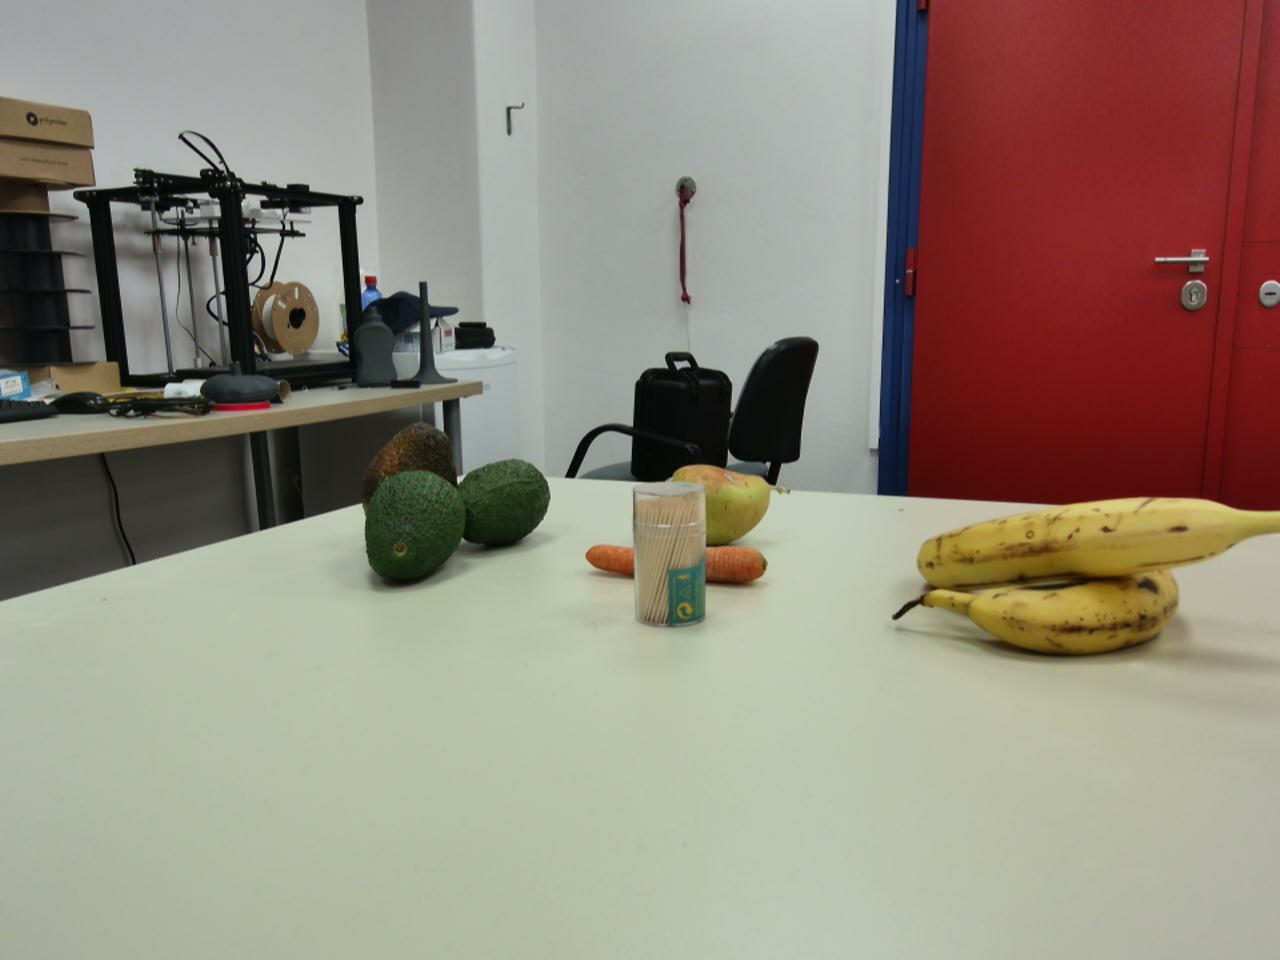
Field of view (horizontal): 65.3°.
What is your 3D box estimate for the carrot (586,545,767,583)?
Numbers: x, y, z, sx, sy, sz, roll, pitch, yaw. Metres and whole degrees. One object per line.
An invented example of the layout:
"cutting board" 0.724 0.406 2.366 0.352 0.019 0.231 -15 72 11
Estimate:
"carrot" 0.022 0.052 0.652 0.122 0.023 0.024 3 8 20
